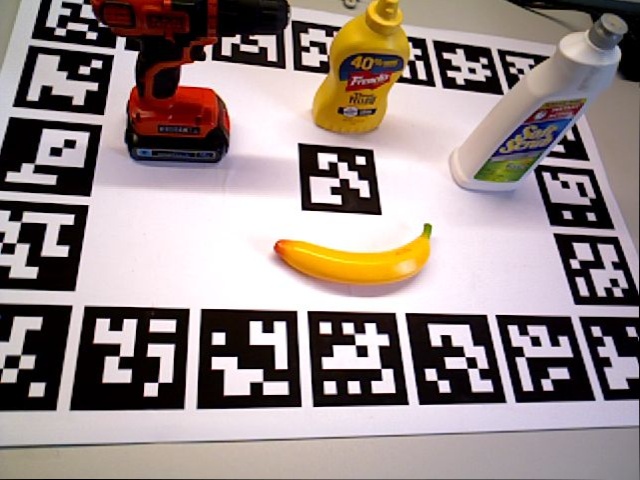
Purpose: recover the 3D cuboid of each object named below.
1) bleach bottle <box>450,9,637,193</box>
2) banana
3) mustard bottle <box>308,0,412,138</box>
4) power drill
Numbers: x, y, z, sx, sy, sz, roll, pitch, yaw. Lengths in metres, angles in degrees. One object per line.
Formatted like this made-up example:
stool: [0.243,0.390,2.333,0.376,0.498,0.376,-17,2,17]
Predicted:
bleach bottle: [0.251,-0.152,0.624,0.102,0.256,0.067,10,60,-10]
banana: [0.052,0.017,0.600,0.195,0.039,0.073,-3,66,-13]
mustard bottle: [0.054,-0.202,0.638,0.095,0.196,0.058,-4,63,-19]
power drill: [-0.117,-0.185,0.550,0.182,0.191,0.057,-4,63,-12]
